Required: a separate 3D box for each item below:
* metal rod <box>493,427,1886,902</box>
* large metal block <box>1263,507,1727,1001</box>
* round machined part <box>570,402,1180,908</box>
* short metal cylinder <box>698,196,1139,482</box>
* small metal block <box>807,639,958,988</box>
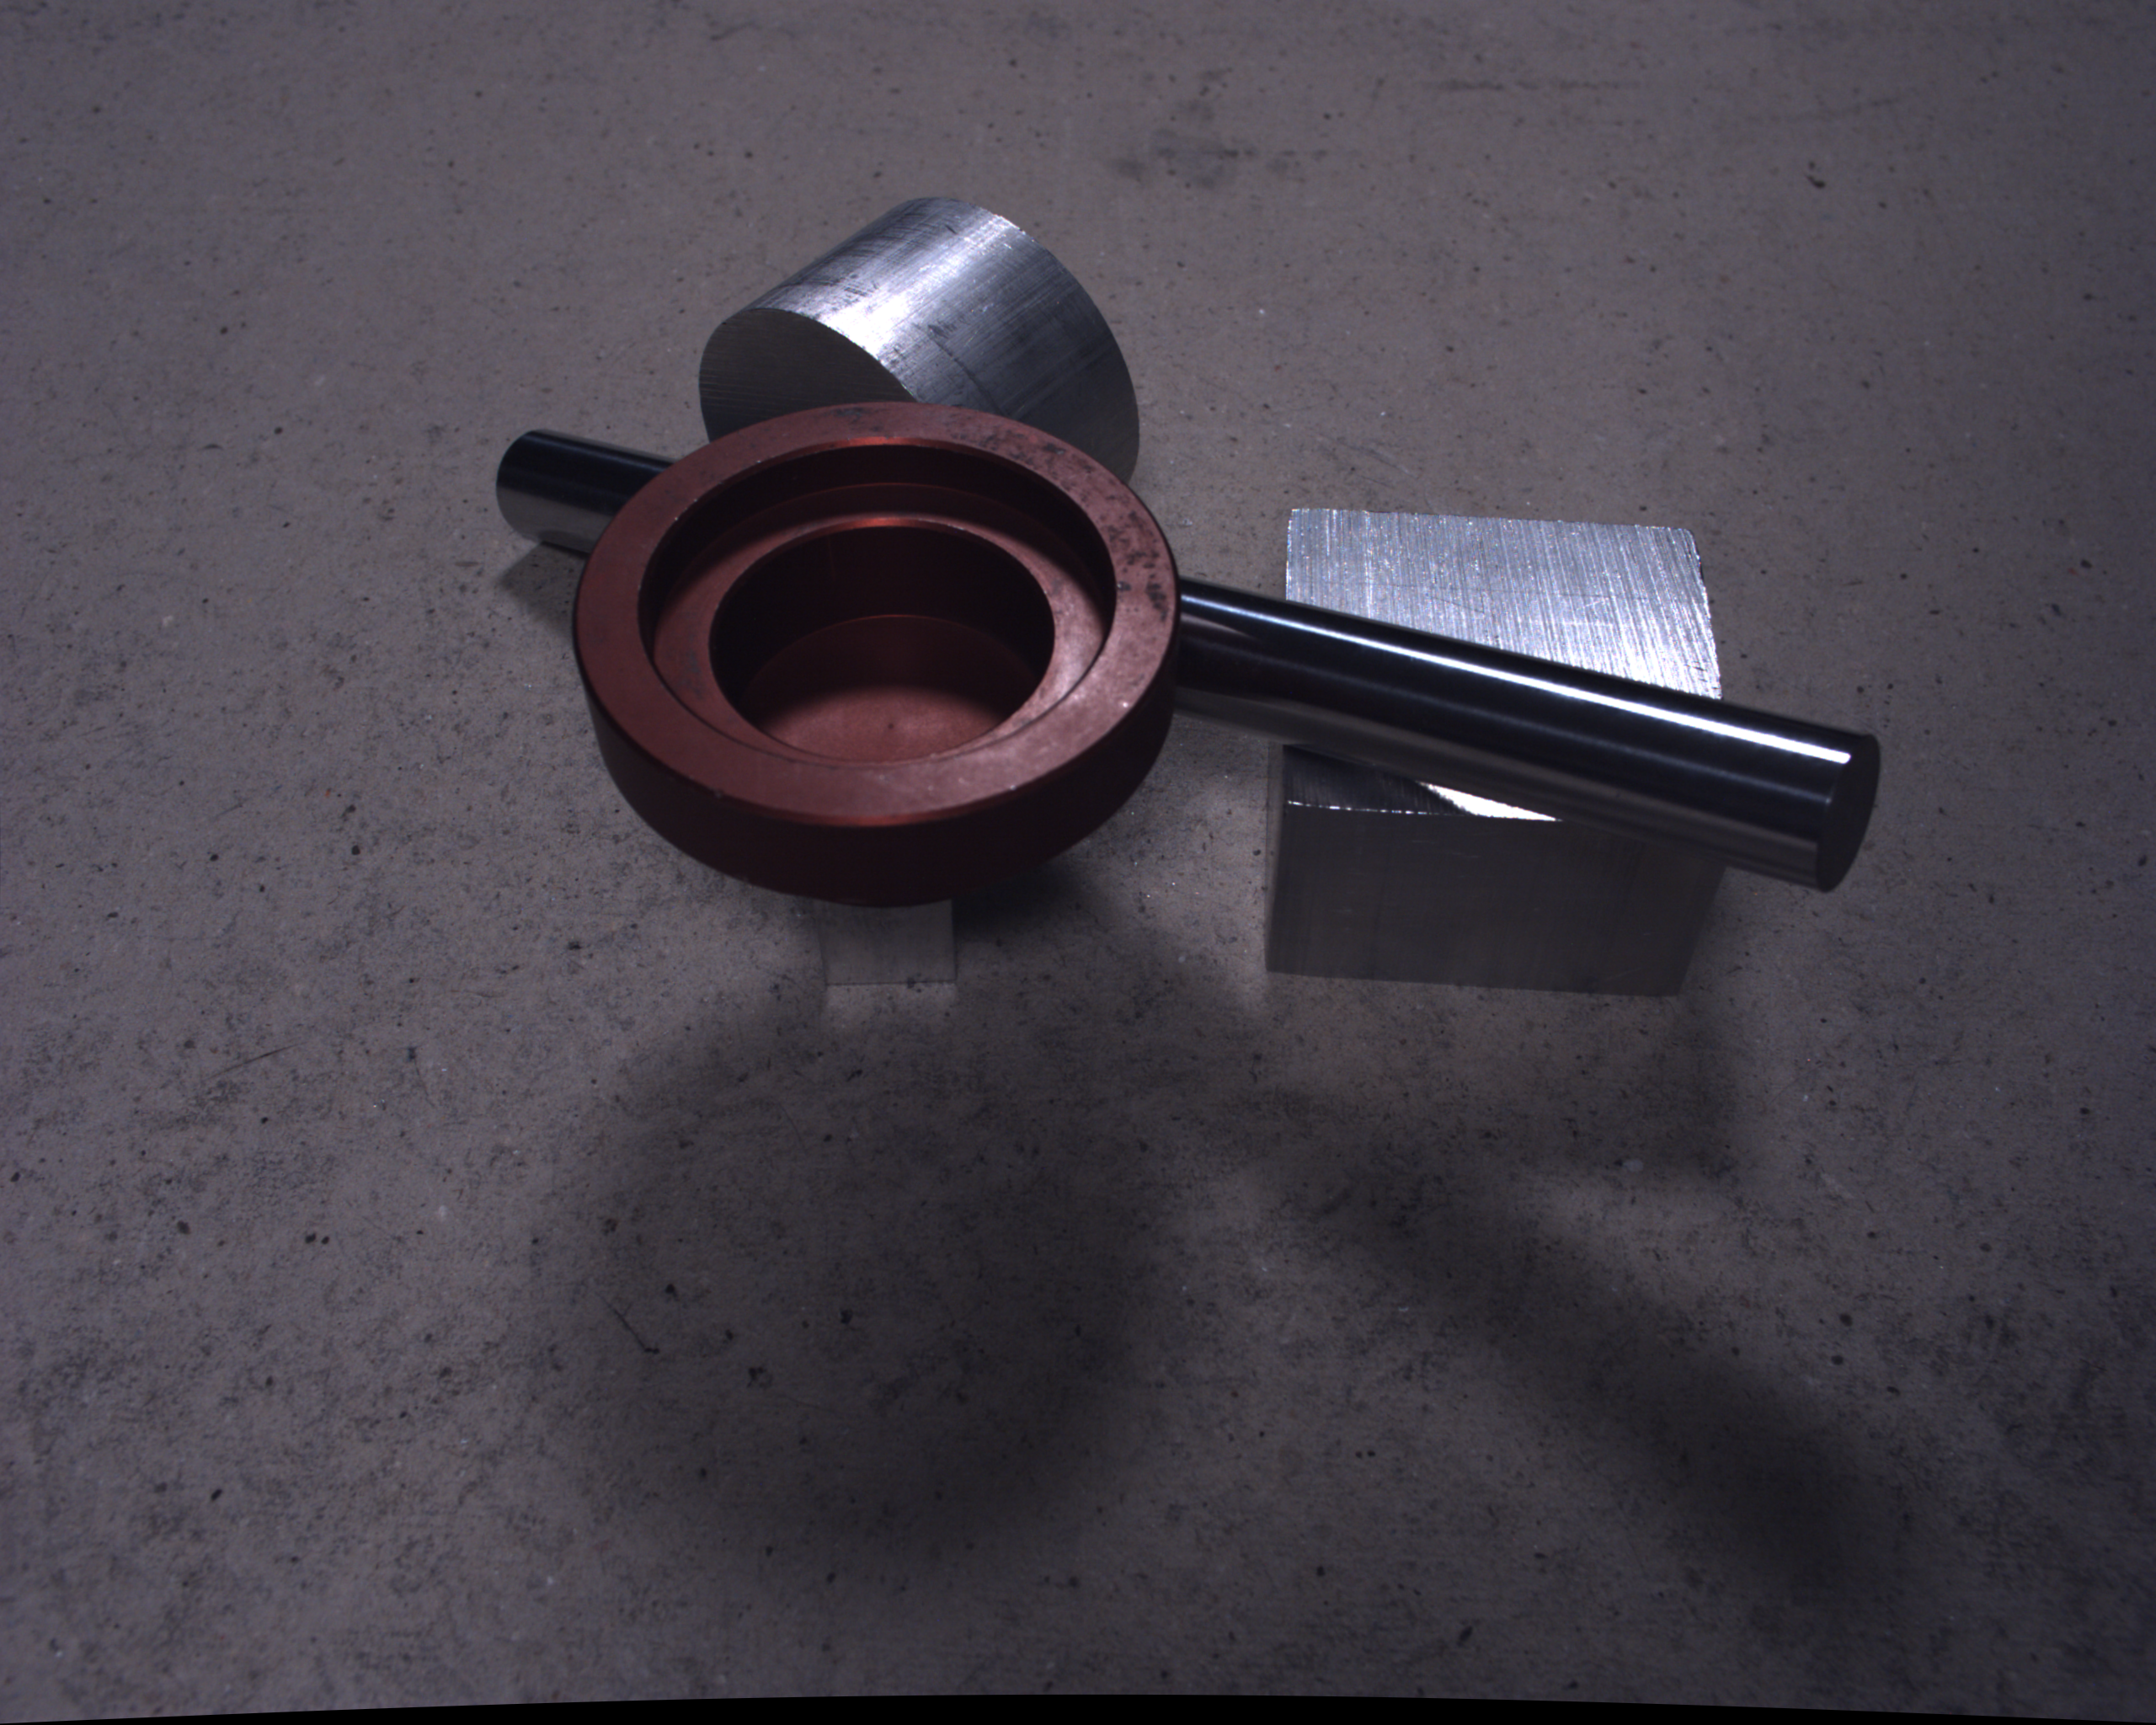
[{"bbox_3d":[-0.003,-0.046,0.395,0.300,0.025,0.025,19,51,32],"label":"metal rod"},{"bbox_3d":[0.079,-0.022,0.408,0.080,0.050,0.080,4,50,2],"label":"large metal block"},{"bbox_3d":[-0.033,-0.031,0.355,0.099,0.042,0.098,0,51,0],"label":"round machined part"},{"bbox_3d":[-0.034,-0.094,0.448,0.080,0.080,0.050,30,56,22],"label":"short metal cylinder"},{"bbox_3d":[-0.037,-0.011,0.398,0.025,0.050,0.050,-2,50,-2],"label":"small metal block"}]
